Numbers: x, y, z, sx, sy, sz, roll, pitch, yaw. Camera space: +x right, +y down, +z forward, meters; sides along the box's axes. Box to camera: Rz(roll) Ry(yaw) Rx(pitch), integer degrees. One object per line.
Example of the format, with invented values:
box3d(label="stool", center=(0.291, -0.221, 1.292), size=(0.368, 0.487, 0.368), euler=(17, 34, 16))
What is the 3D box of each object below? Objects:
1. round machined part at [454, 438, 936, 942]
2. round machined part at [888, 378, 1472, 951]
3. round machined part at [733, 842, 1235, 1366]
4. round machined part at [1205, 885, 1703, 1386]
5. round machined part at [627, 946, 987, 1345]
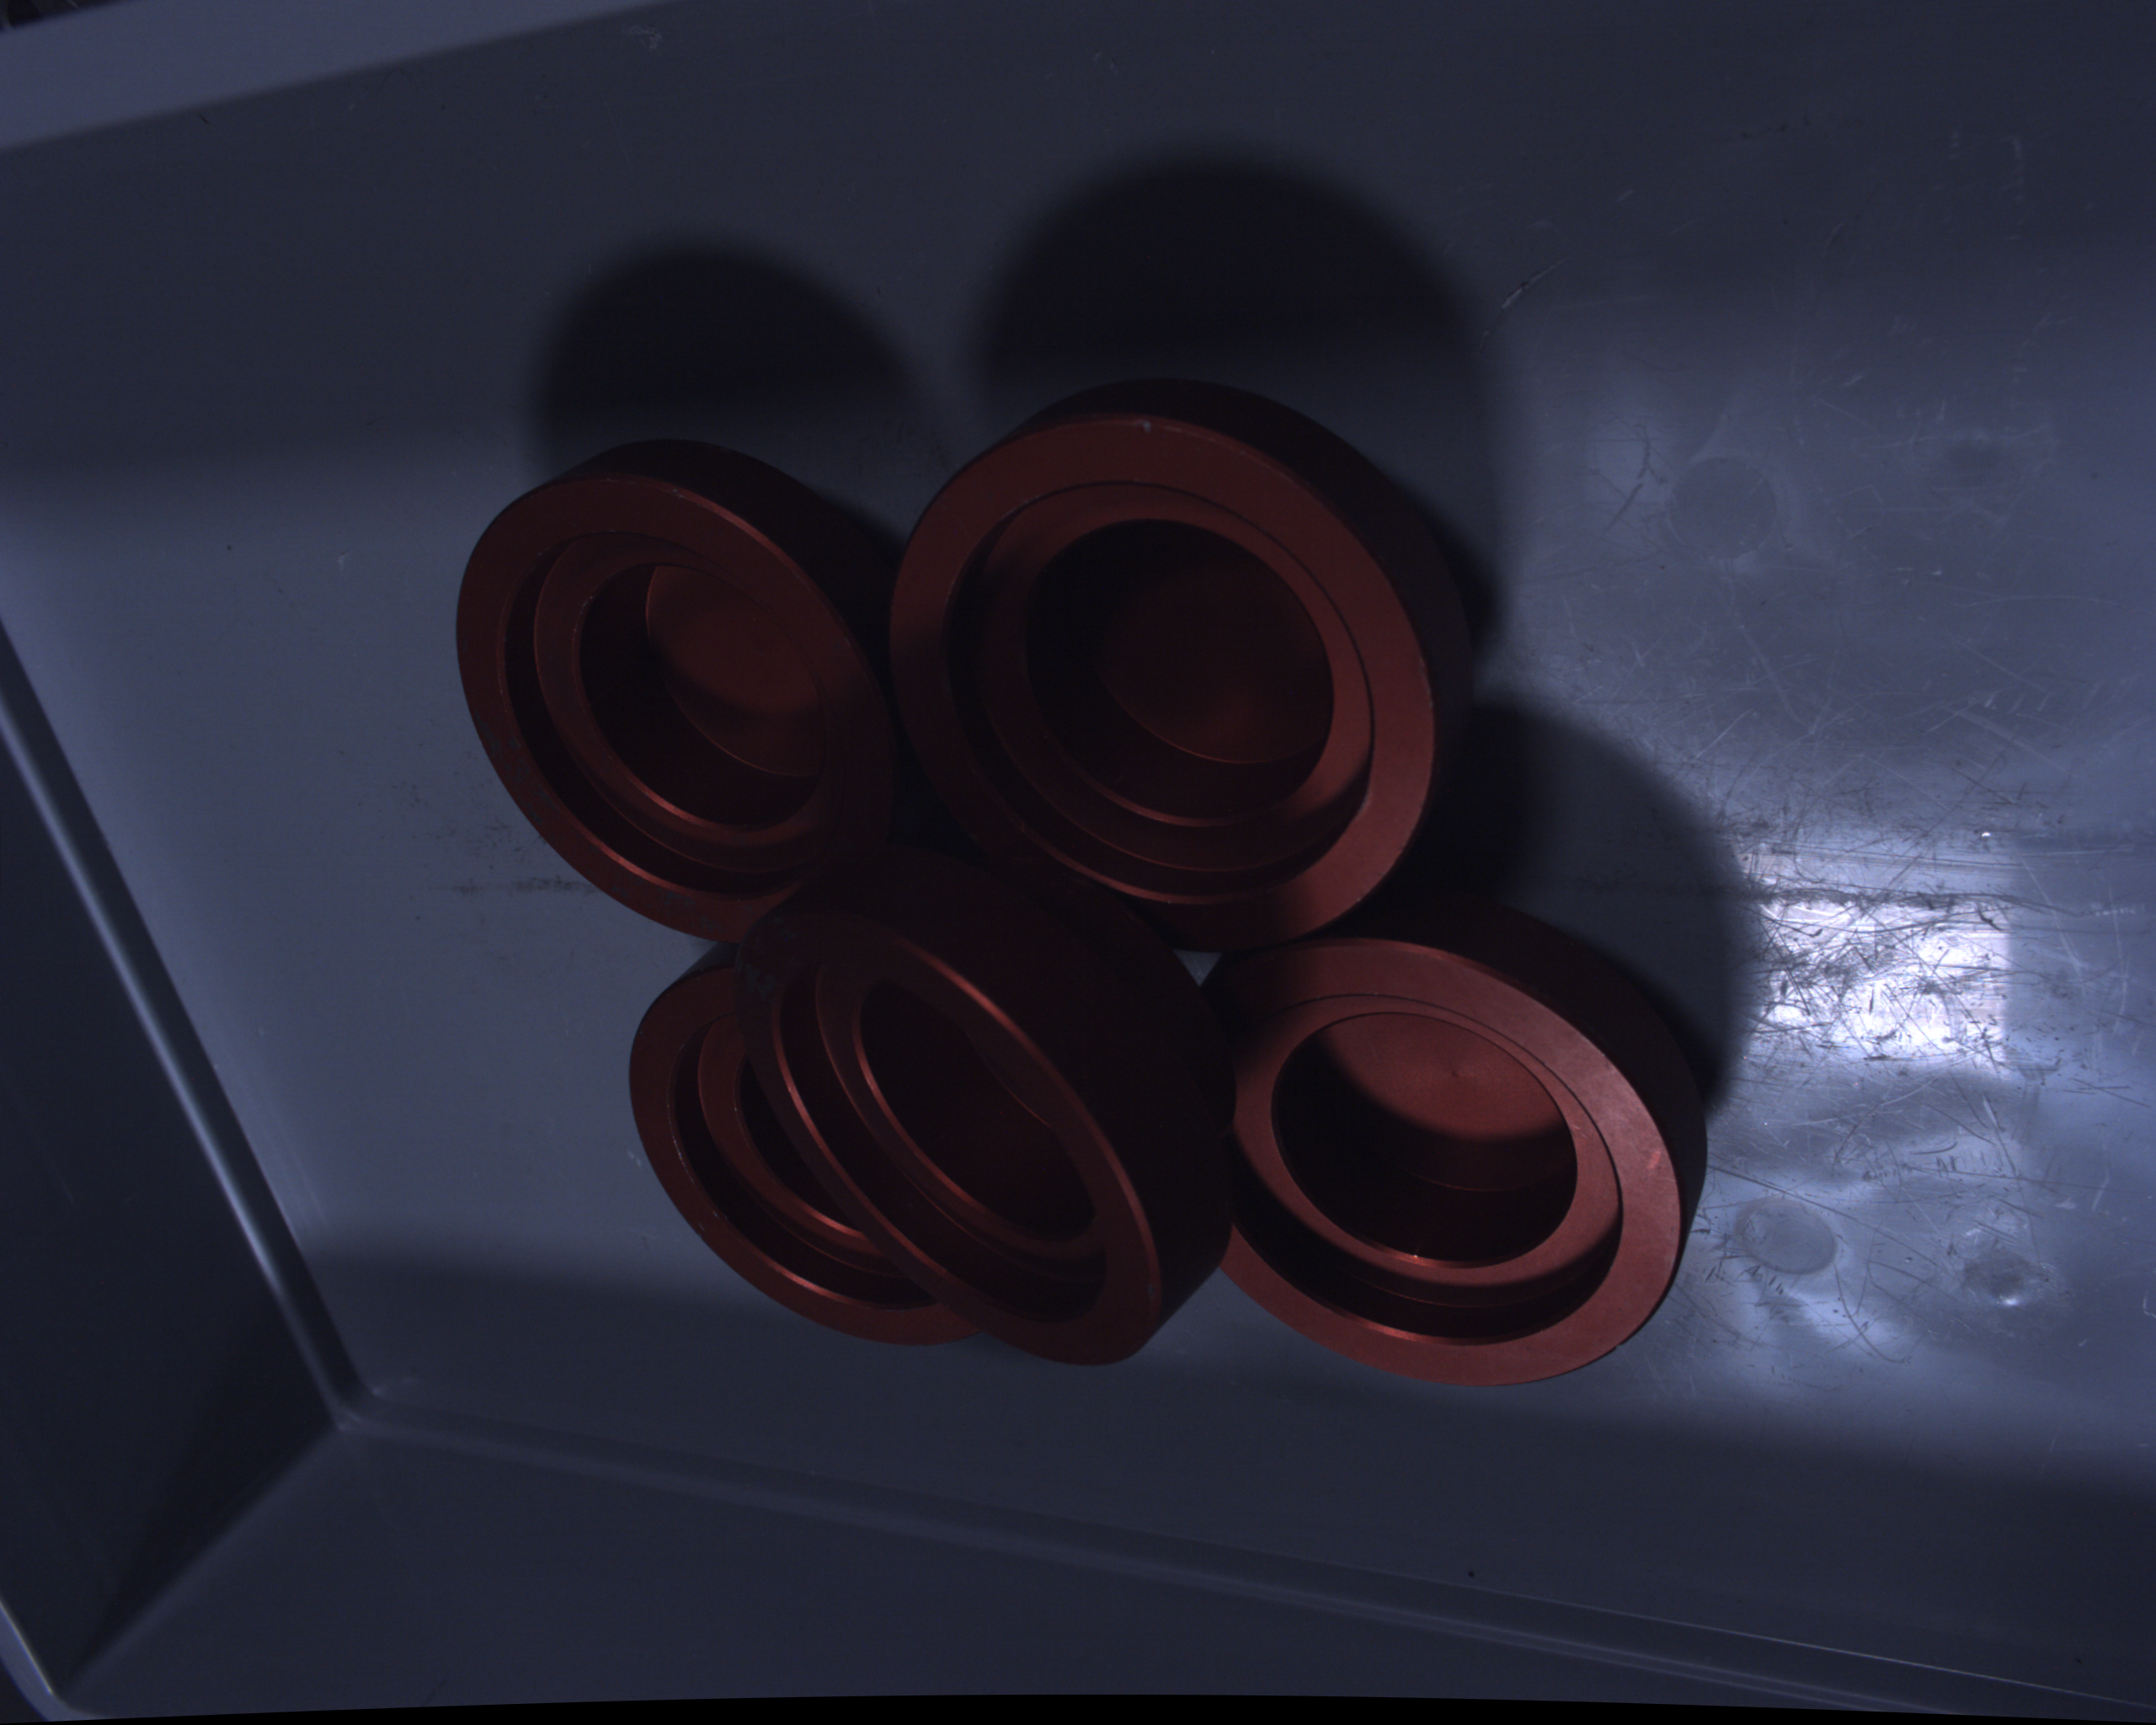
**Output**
box3d(label="round machined part", center=(-0.068, -0.036, 0.407), size=(0.098, 0.042, 0.097), euler=(13, 124, 20))
box3d(label="round machined part", center=(0.020, -0.037, 0.361), size=(0.098, 0.042, 0.097), euler=(13, 124, 20))
box3d(label="round machined part", center=(-0.012, 0.037, 0.368), size=(0.098, 0.042, 0.097), euler=(30, 141, 28))
box3d(label="round machined part", center=(0.066, 0.046, 0.388), size=(0.098, 0.042, 0.097), euler=(13, 124, 20))
box3d(label="round machined part", center=(-0.044, 0.053, 0.450), size=(0.098, 0.042, 0.097), euler=(13, 124, 20))
